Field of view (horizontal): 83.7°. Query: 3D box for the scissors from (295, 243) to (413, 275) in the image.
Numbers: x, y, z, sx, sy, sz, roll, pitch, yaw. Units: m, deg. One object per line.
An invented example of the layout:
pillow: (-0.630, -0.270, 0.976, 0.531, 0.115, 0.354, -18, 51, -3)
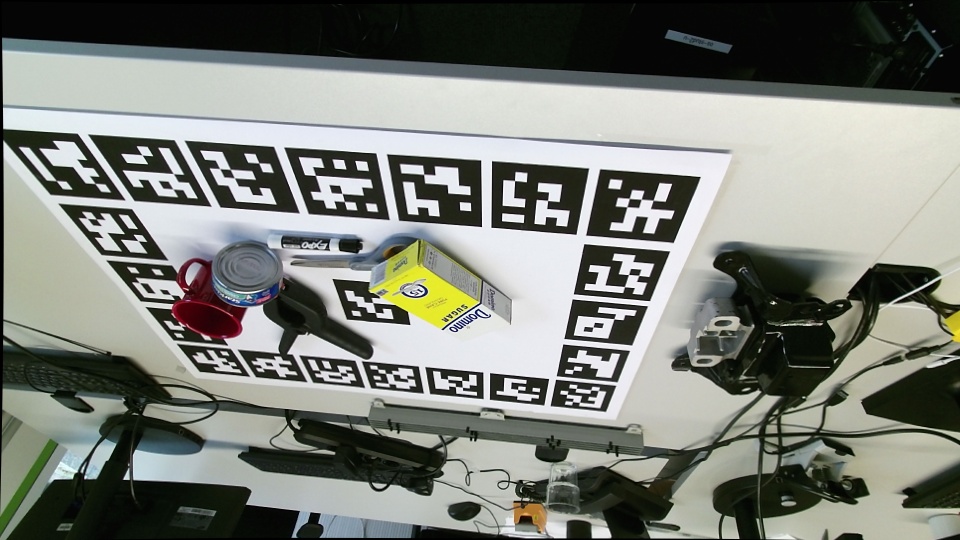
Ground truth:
scissors: (-0.156, -0.001, 0.720, 0.203, 0.016, 0.088, -2, 141, 14)

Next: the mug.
mug: (-0.365, 0.033, 0.755, 0.093, 0.081, 0.117, -15, 136, 25)

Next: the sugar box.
sugar box: (-0.051, 0.035, 0.717, 0.093, 0.045, 0.177, -23, 135, 31)

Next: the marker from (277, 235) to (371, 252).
marker: (-0.202, -0.034, 0.695, 0.121, 0.019, 0.020, 2, 137, 7)

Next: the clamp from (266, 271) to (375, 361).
clamp: (-0.270, 0.079, 0.834, 0.166, 0.036, 0.203, -2, 136, 13)

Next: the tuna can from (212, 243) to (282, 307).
tuna can: (-0.307, 0.005, 0.707, 0.086, 0.085, 0.034, 16, 138, -8)
